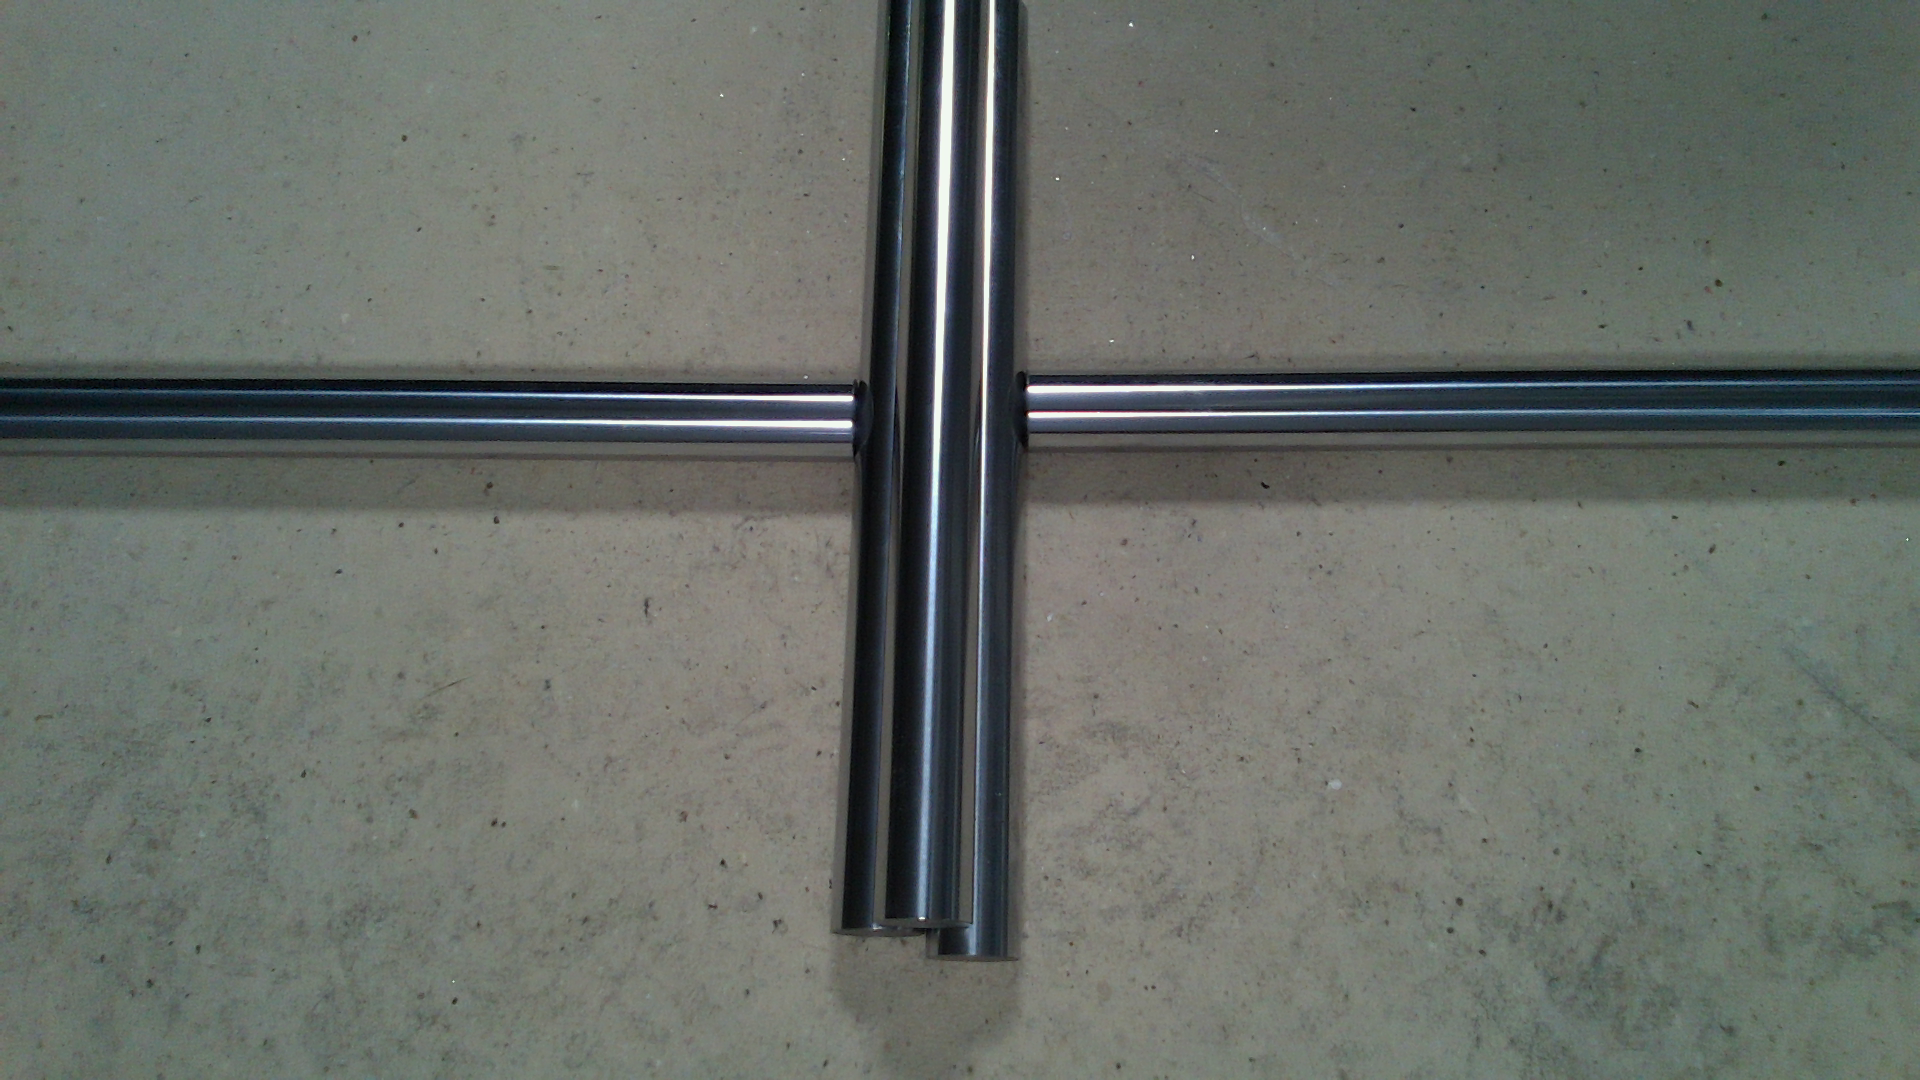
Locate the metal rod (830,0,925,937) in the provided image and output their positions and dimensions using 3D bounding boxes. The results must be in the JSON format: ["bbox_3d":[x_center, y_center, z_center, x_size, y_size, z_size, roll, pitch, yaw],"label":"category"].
[{"bbox_3d":[-0.018,-0.038,0.409,0.025,0.025,0.300,1,70,1],"label":"metal rod"}]

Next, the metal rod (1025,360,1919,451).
[{"bbox_3d":[0.169,-0.040,0.410,0.300,0.025,0.025,0,70,0],"label":"metal rod"}]

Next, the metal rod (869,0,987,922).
[{"bbox_3d":[-0.007,-0.047,0.391,0.025,0.025,0.300,1,70,1],"label":"metal rod"}]

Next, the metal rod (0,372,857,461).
[{"bbox_3d":[-0.181,-0.037,0.407,0.300,0.025,0.025,0,70,0],"label":"metal rod"}]

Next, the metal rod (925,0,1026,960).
[{"bbox_3d":[0.006,-0.033,0.407,0.025,0.025,0.300,1,70,1],"label":"metal rod"}]
